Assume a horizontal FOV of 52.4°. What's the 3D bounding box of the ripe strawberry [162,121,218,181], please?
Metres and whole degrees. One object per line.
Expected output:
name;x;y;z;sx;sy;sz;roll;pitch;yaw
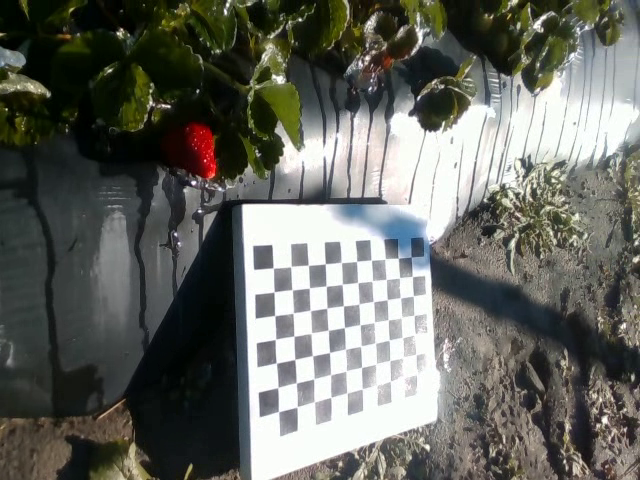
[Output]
ripe strawberry;-0.087;-0.061;0.456;0.042;0.052;0.047;-11;-32;-41
